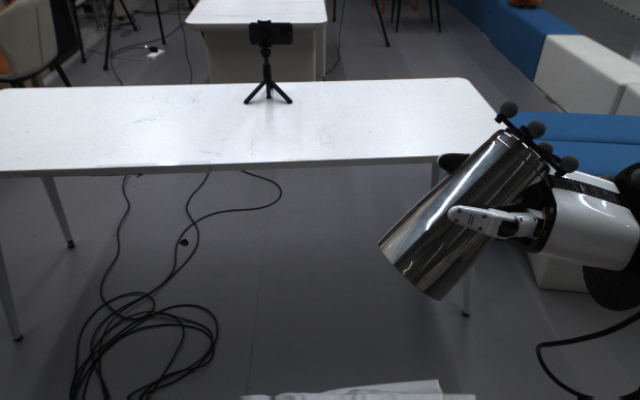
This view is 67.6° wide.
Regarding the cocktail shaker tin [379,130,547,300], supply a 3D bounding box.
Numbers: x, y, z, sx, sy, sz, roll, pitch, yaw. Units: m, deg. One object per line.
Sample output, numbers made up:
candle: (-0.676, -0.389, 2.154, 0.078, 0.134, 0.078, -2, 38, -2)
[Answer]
cocktail shaker tin: (0.153, 0.008, 0.507, 0.093, 0.170, 0.093, 41, 12, -11)
